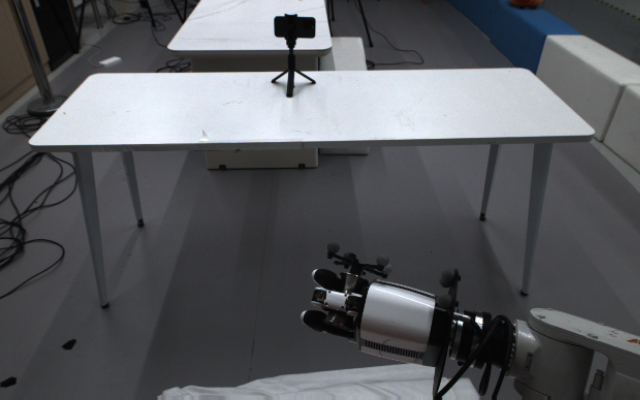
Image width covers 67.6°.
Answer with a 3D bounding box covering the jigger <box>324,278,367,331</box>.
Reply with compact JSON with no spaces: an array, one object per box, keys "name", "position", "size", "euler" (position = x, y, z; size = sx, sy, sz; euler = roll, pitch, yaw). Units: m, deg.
[{"name":"jigger","position":[0.038,0.134,0.640],"size":[0.043,0.043,0.071],"euler":[13,70,16]}]
